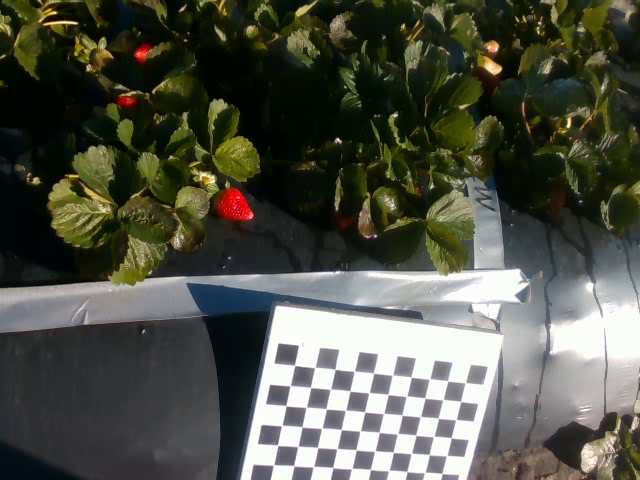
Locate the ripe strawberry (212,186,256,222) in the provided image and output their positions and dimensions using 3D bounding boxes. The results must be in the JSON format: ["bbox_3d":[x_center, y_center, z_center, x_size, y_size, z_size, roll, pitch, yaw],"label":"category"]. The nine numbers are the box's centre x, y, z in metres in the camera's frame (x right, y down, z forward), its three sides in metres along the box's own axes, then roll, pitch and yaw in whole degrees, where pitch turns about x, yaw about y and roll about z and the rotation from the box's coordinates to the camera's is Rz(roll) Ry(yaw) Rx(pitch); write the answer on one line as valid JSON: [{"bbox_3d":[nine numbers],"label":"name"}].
[{"bbox_3d":[-0.101,-0.039,0.737,0.058,0.046,0.042,37,-1,0],"label":"ripe strawberry"}]
